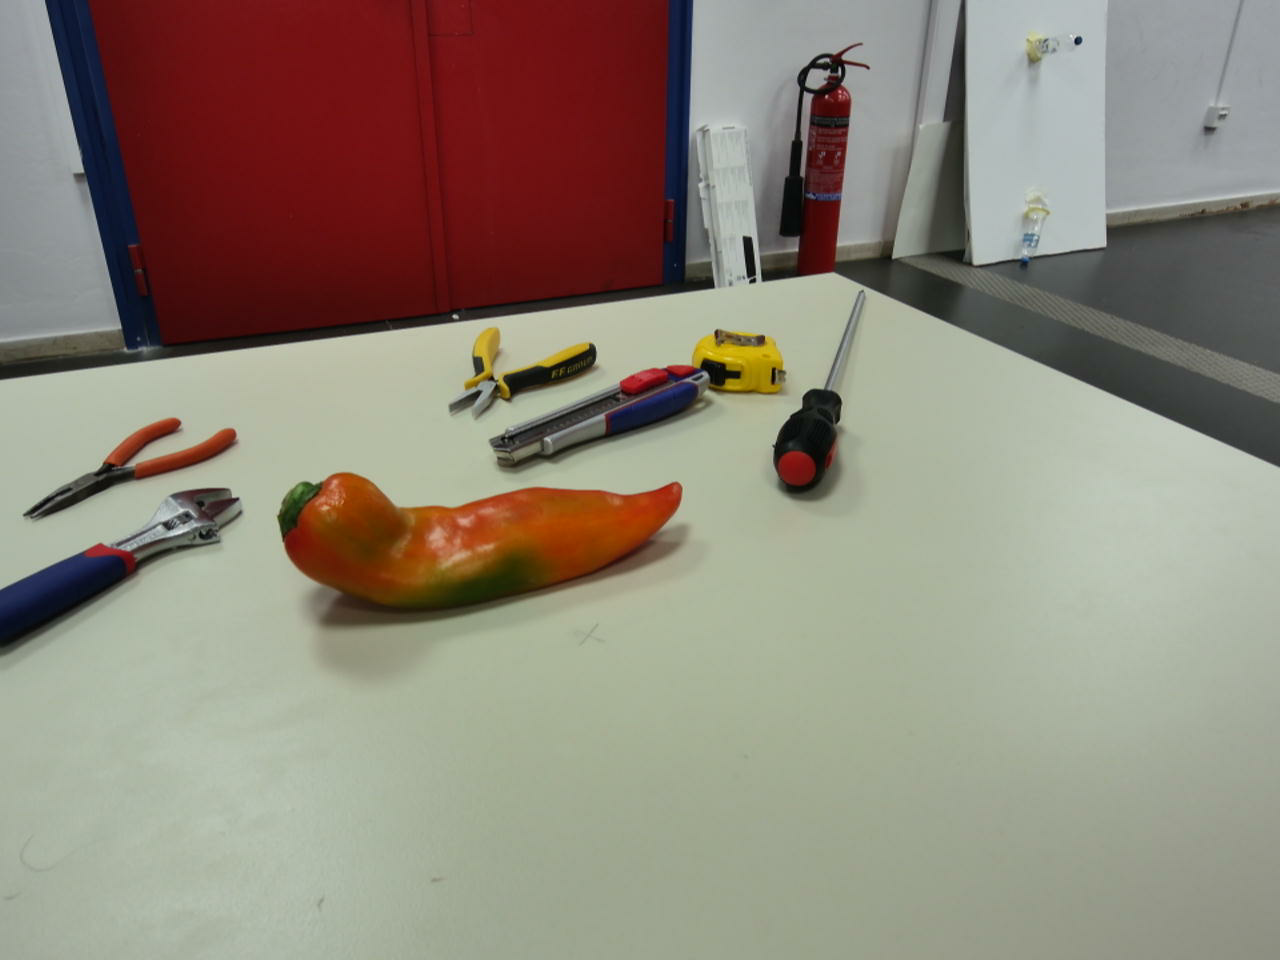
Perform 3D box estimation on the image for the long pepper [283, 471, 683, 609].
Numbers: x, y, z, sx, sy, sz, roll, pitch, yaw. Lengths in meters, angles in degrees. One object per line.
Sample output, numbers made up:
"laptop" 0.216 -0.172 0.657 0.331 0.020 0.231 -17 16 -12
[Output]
"long pepper" -0.069 0.018 0.491 0.199 0.065 0.066 -9 27 -18
